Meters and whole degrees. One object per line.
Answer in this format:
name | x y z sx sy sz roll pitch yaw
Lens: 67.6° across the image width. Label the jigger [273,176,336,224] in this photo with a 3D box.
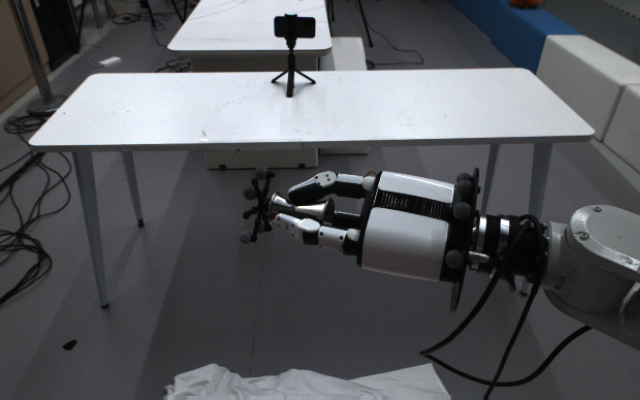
jigger | -0.015 0.012 0.567 0.071 0.043 0.043 9 35 17
